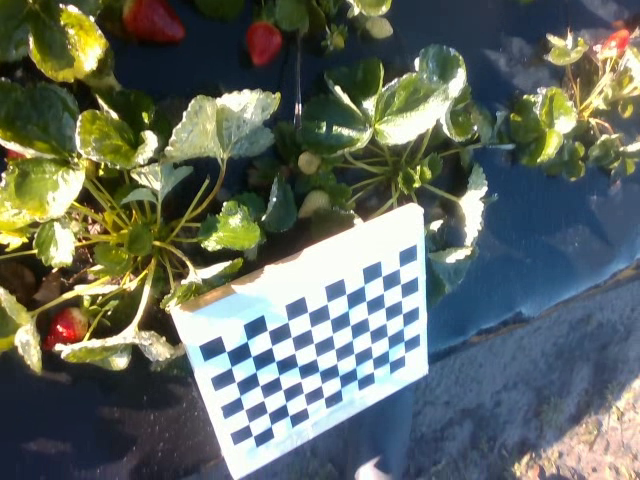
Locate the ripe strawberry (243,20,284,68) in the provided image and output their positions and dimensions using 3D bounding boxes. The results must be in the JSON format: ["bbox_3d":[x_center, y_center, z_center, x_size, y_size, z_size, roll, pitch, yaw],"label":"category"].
[{"bbox_3d":[-0.050,-0.179,0.548,0.039,0.047,0.040,15,2,-38],"label":"ripe strawberry"}]

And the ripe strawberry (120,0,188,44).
[{"bbox_3d":[-0.135,-0.186,0.506,0.056,0.044,0.040,29,5,-39],"label":"ripe strawberry"}]
